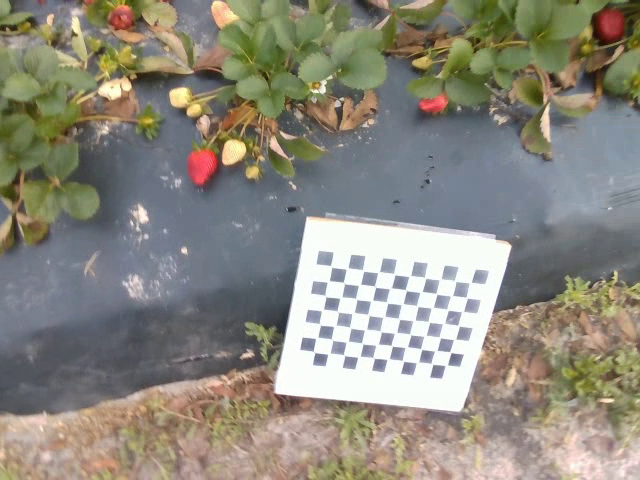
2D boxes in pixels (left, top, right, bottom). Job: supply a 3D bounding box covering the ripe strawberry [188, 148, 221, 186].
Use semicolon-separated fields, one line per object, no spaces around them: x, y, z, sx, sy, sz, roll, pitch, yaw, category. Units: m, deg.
-0.161;-0.100;1.032;0.050;0.059;0.034;-3;-27;-3;ripe strawberry
